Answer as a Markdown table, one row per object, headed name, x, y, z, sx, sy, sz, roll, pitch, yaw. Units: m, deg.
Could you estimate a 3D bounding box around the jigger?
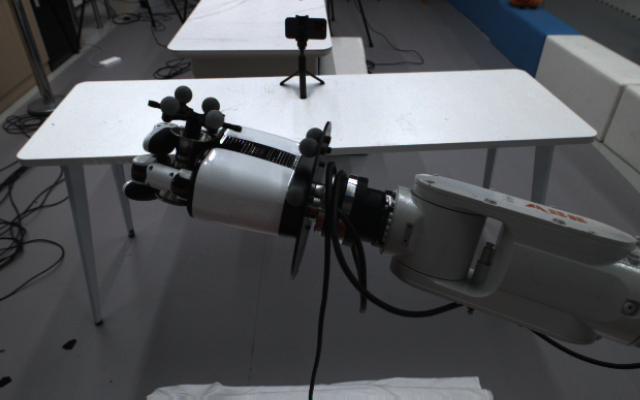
| name | x | y | z | sx | sy | sz | roll | pitch | yaw |
| --- | --- | --- | --- | --- | --- | --- | --- | --- | --- |
| jigger | -0.132 | -0.033 | 0.480 | 0.043 | 0.071 | 0.043 | 18 | 17 | -6 |
